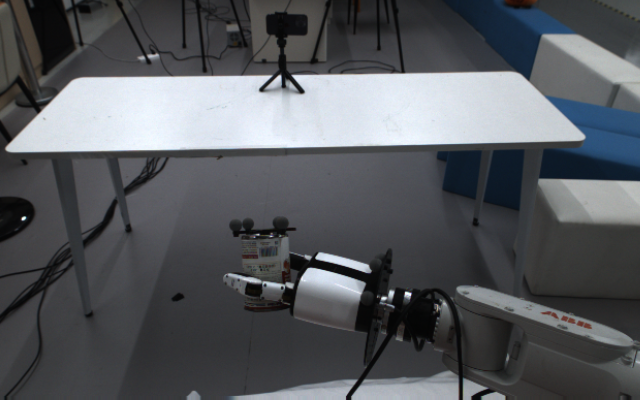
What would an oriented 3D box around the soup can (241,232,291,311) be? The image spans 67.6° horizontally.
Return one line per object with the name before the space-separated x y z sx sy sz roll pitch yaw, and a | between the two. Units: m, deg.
soup can | -0.073 0.099 0.671 0.067 0.101 0.067 -3 -1 0
